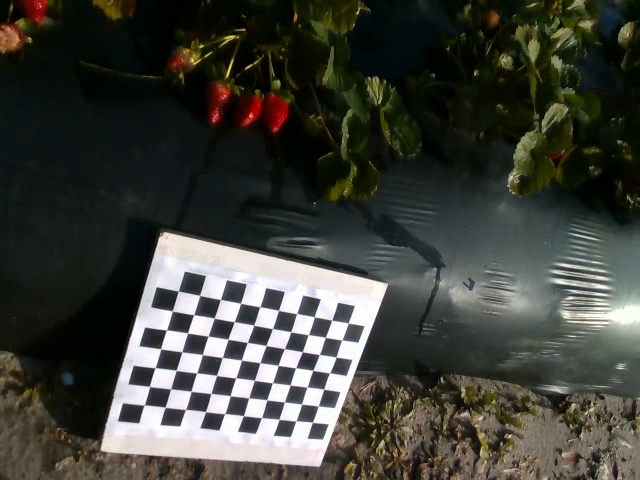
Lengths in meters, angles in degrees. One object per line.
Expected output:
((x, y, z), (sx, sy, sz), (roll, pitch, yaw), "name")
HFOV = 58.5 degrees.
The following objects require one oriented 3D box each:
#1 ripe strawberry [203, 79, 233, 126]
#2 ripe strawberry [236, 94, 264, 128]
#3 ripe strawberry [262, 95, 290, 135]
((-0.101, -0.134, 0.548), (0.031, 0.046, 0.023), (13, -4, -20), "ripe strawberry")
((-0.072, -0.127, 0.552), (0.030, 0.037, 0.039), (24, 33, -22), "ripe strawberry")
((-0.048, -0.122, 0.566), (0.035, 0.041, 0.034), (9, -38, -20), "ripe strawberry")
